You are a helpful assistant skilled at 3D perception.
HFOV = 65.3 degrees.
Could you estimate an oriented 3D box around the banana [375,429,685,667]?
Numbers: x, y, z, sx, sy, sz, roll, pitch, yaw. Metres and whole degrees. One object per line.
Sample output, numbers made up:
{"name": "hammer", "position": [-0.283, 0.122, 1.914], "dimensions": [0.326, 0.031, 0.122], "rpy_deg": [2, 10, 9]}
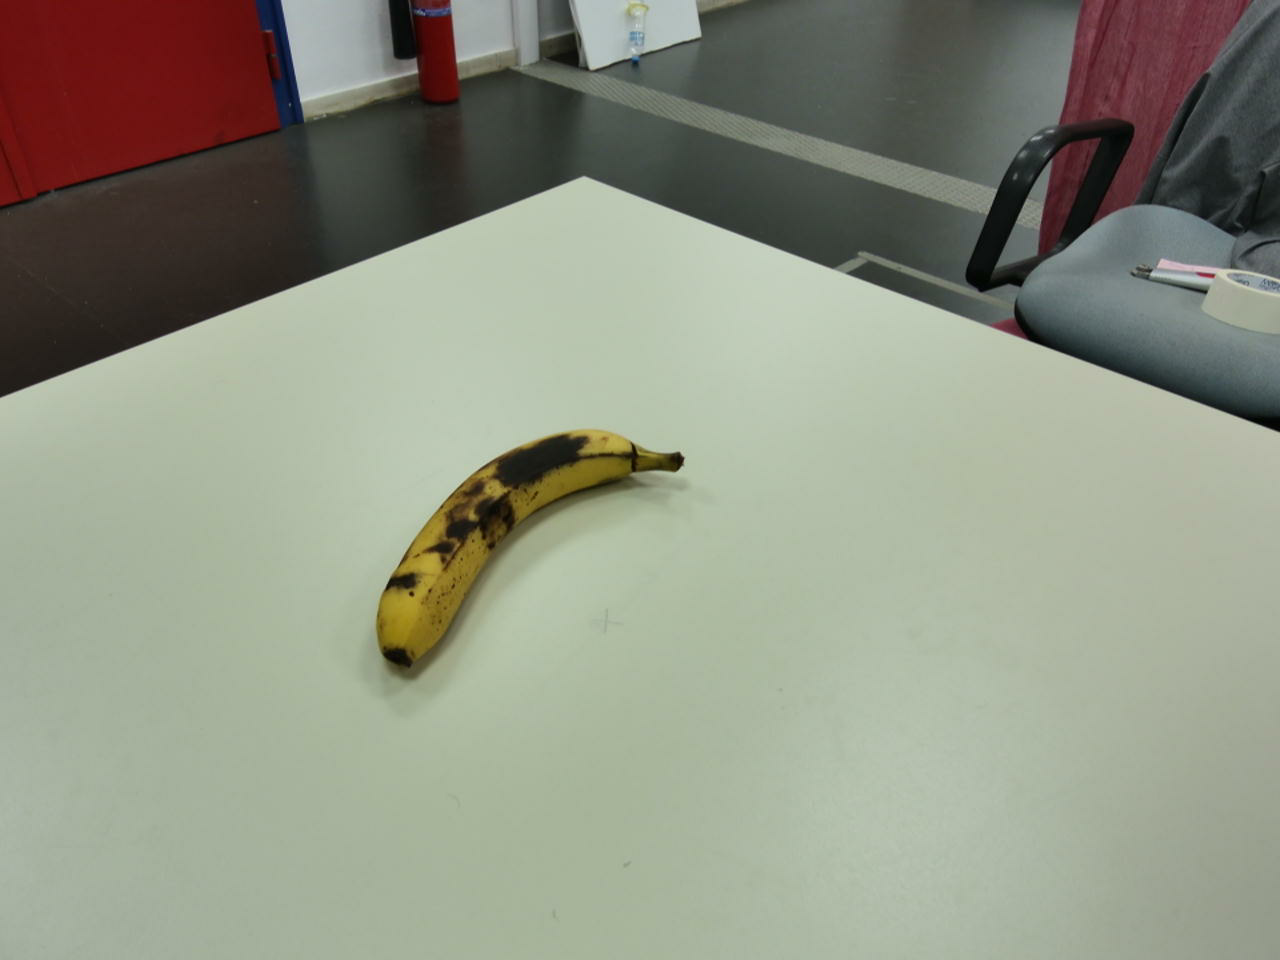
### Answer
{"name": "banana", "position": [-0.074, 0.021, 0.567], "dimensions": [0.084, 0.037, 0.222], "rpy_deg": [29, 45, 31]}
